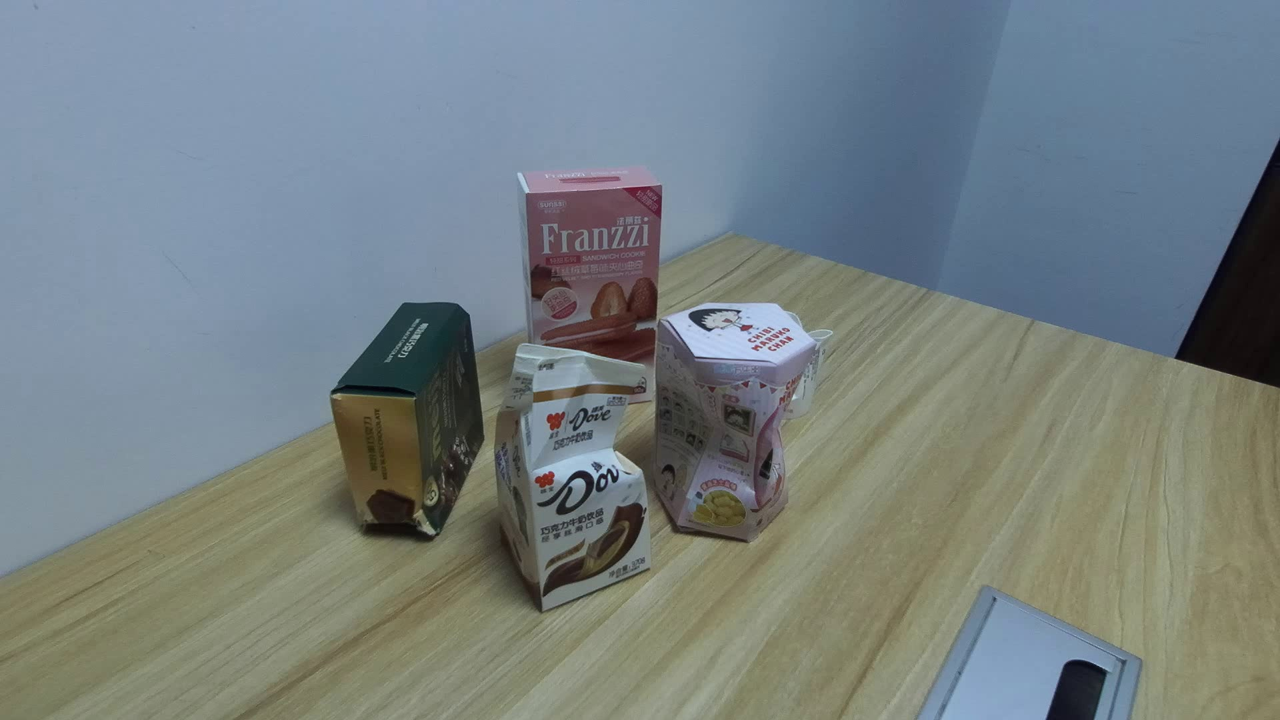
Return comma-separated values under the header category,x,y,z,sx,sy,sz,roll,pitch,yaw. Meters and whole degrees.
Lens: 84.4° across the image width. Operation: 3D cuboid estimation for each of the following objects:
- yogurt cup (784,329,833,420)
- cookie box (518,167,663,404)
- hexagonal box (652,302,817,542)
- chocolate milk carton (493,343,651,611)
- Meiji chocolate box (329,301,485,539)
category,x,y,z,sx,sy,sz,roll,pitch,yaw
yogurt cup,0.117,0.004,0.568,0.055,0.072,0.054,-20,35,-39
cookie box,-0.037,-0.049,0.539,0.096,0.185,0.048,-6,33,-13
hexagonal box,0.054,0.040,0.442,0.093,0.135,0.088,4,31,3
chocolate milk carton,-0.037,0.054,0.396,0.076,0.155,0.073,-13,35,-24
Meiji chocolate box,-0.147,0.036,0.464,0.058,0.116,0.122,5,31,4
